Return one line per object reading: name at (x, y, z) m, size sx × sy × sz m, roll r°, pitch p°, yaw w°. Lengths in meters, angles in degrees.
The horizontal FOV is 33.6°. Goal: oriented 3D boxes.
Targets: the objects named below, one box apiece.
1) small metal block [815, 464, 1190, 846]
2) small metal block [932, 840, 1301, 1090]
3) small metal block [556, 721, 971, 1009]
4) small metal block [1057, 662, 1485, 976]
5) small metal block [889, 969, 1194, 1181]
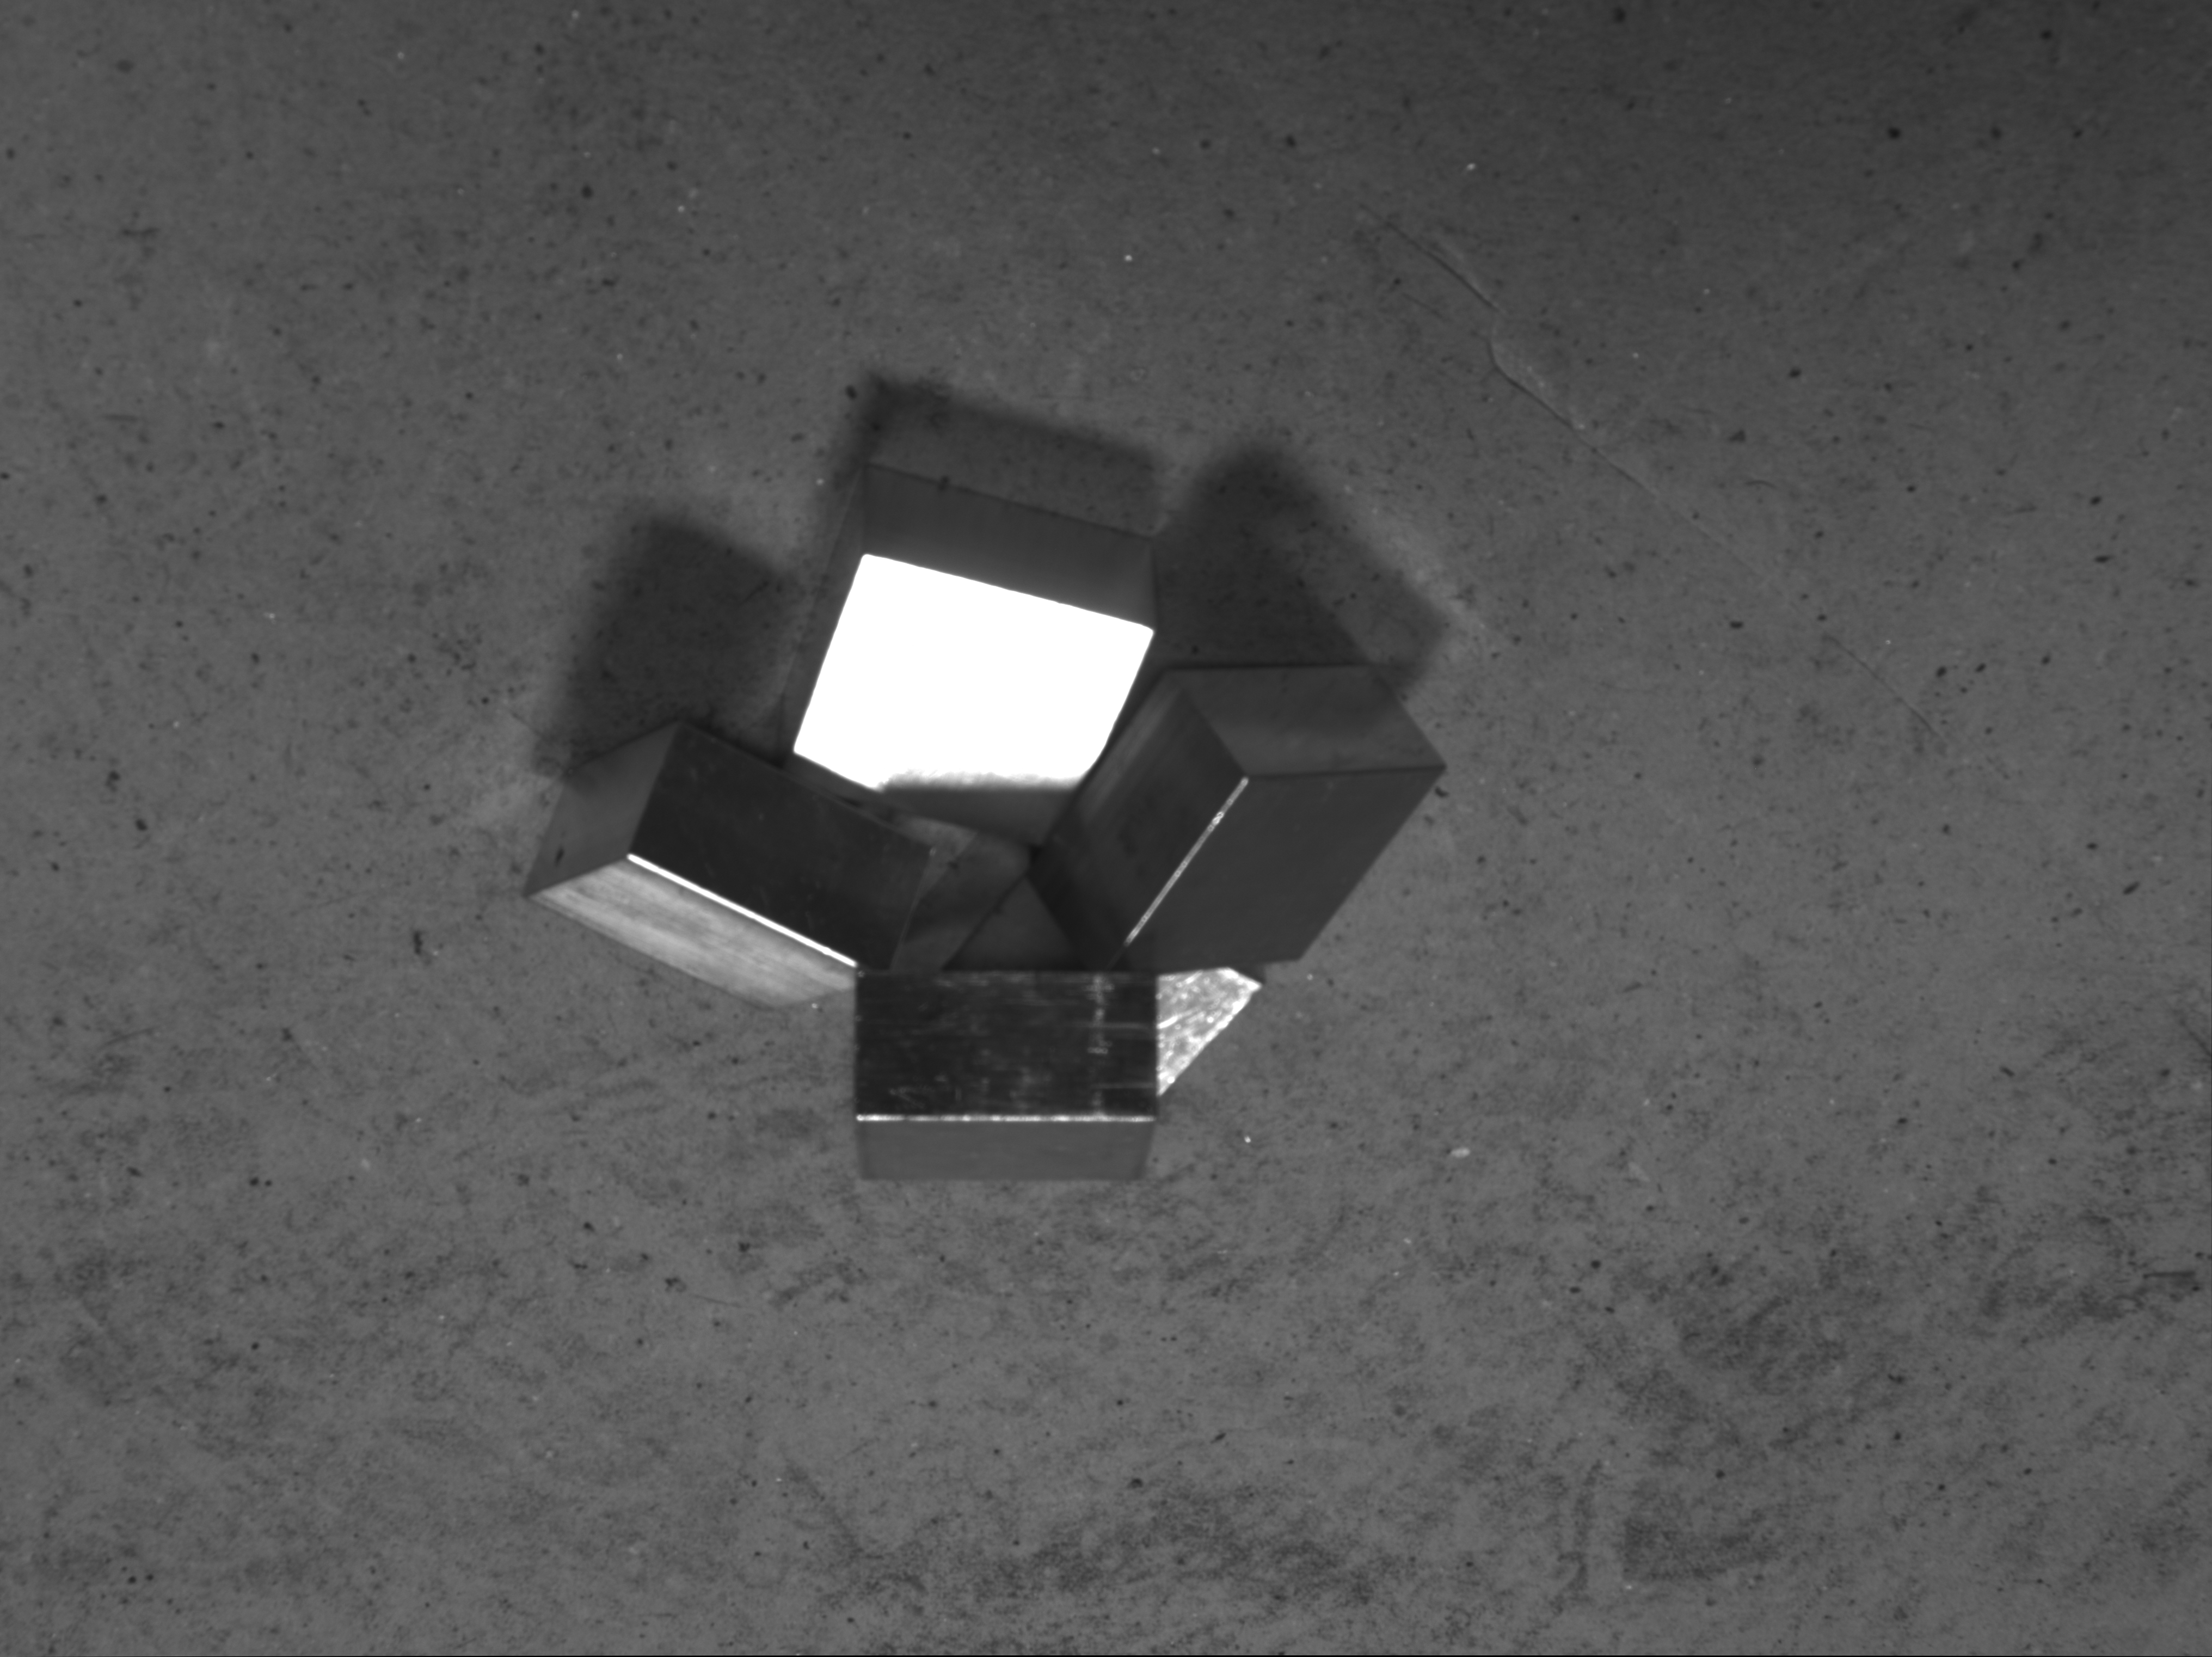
small metal block at (-0.018, -0.028, 0.615) m, size 0.050 × 0.025 × 0.050 m, roll 14°, pitch 128°, yaw -13°
small metal block at (-0.001, 0.025, 0.660) m, size 0.050 × 0.025 × 0.050 m, roll 26°, pitch 124°, yaw -22°
small metal block at (-0.059, 0.007, 0.628) m, size 0.050 × 0.025 × 0.050 m, roll 26°, pitch 160°, yaw -23°
small metal block at (0.028, -0.001, 0.624) m, size 0.050 × 0.025 × 0.050 m, roll -4°, pitch 140°, yaw -44°
small metal block at (-0.011, 0.043, 0.627) m, size 0.050 × 0.025 × 0.050 m, roll 0°, pitch 162°, yaw -2°
